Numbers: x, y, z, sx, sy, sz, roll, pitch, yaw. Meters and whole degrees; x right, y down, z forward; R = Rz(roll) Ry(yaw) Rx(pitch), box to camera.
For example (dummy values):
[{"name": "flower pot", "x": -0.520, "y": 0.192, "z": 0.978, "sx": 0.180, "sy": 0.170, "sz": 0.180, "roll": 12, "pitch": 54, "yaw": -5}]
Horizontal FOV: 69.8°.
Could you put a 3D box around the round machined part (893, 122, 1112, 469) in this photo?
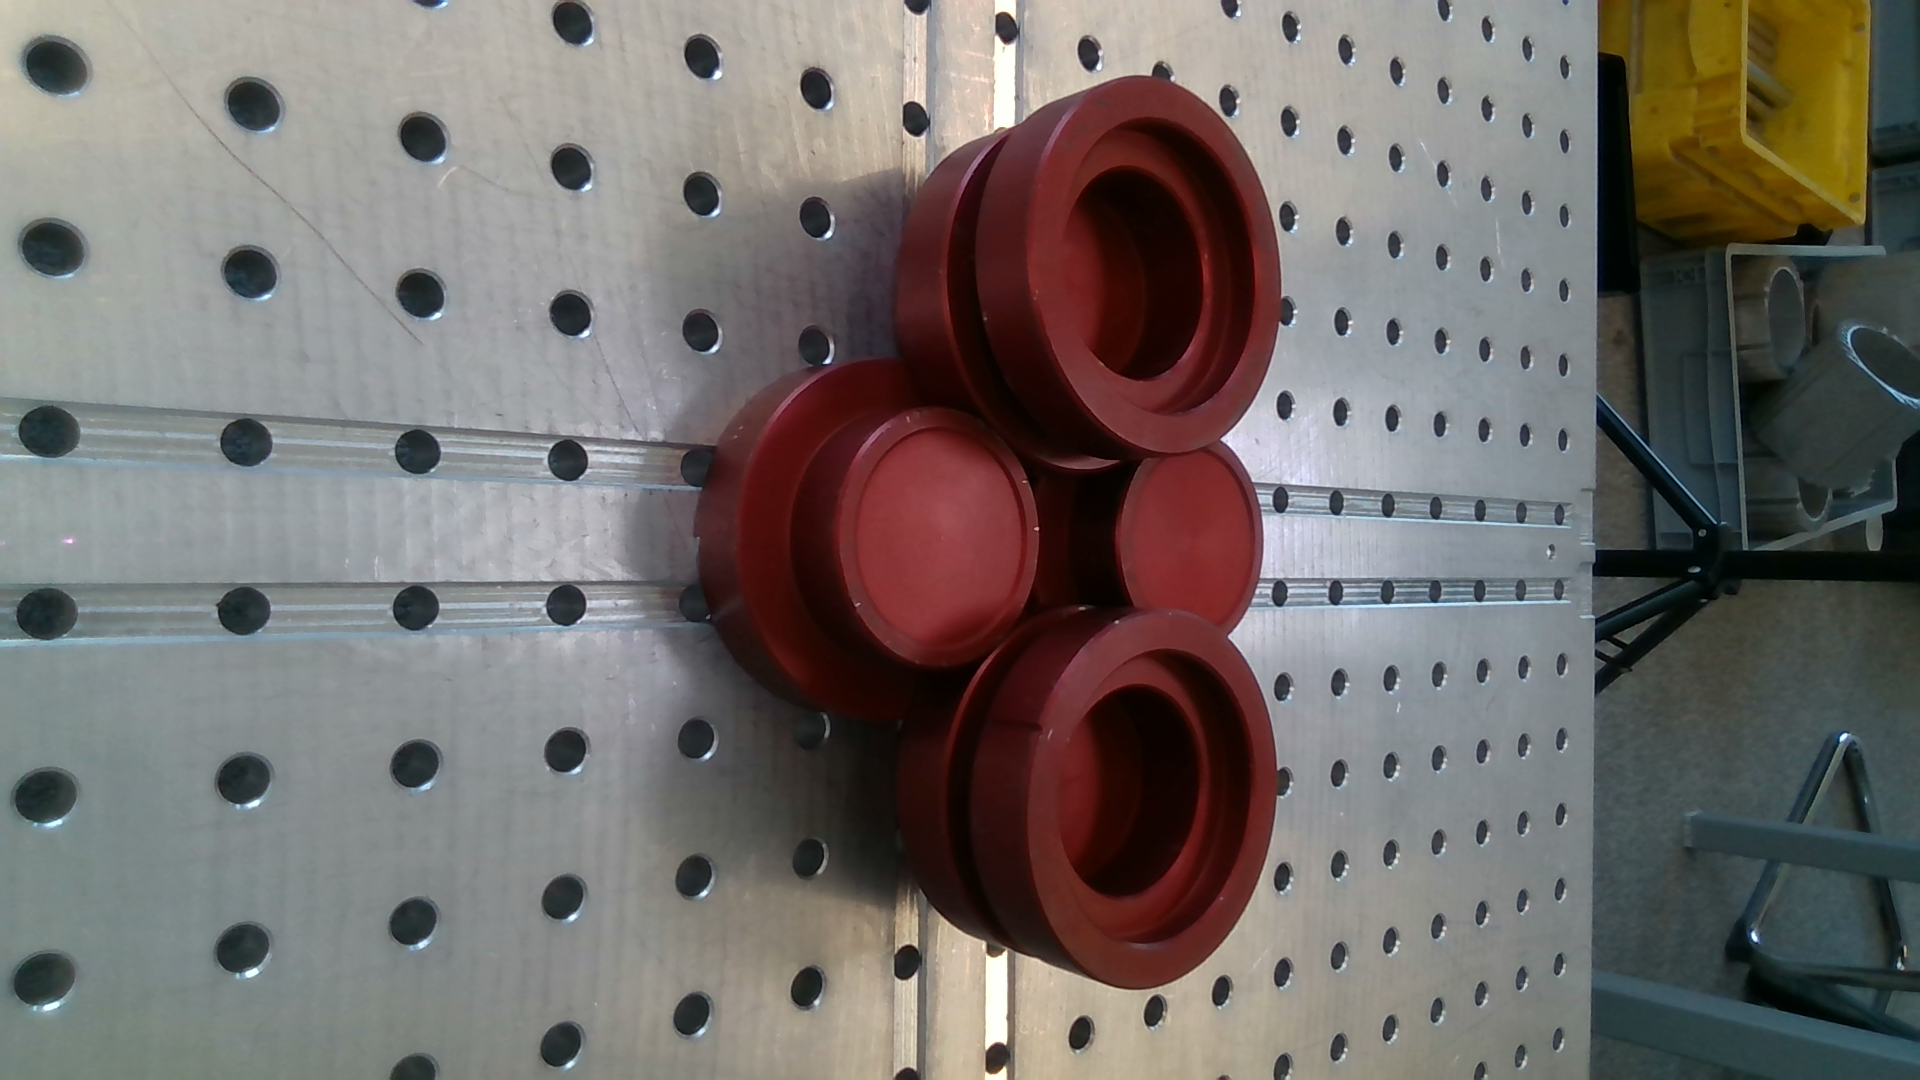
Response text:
[{"name": "round machined part", "x": 0.020, "y": -0.069, "z": 0.399, "sx": 0.098, "sy": 0.042, "sz": 0.098, "roll": 0, "pitch": 90, "yaw": -40}]

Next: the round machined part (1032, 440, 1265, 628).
[{"name": "round machined part", "x": 0.058, "y": -0.001, "z": 0.431, "sx": 0.098, "sy": 0.042, "sz": 0.098, "roll": 0, "pitch": 90, "yaw": -40}]

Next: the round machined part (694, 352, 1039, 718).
[{"name": "round machined part", "x": -0.017, "y": -0.001, "z": 0.367, "sx": 0.098, "sy": 0.042, "sz": 0.098, "roll": 0, "pitch": 90, "yaw": -40}]

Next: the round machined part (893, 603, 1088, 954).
[{"name": "round machined part", "x": 0.020, "y": 0.067, "z": 0.399, "sx": 0.098, "sy": 0.042, "sz": 0.098, "roll": 0, "pitch": 90, "yaw": -40}]

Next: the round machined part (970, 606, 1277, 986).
[{"name": "round machined part", "x": 0.039, "y": 0.066, "z": 0.374, "sx": 0.098, "sy": 0.042, "sz": 0.098, "roll": 0, "pitch": 90, "yaw": -40}]

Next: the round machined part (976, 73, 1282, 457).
[{"name": "round machined part", "x": 0.041, "y": -0.072, "z": 0.374, "sx": 0.098, "sy": 0.042, "sz": 0.098, "roll": 0, "pitch": 90, "yaw": -40}]
